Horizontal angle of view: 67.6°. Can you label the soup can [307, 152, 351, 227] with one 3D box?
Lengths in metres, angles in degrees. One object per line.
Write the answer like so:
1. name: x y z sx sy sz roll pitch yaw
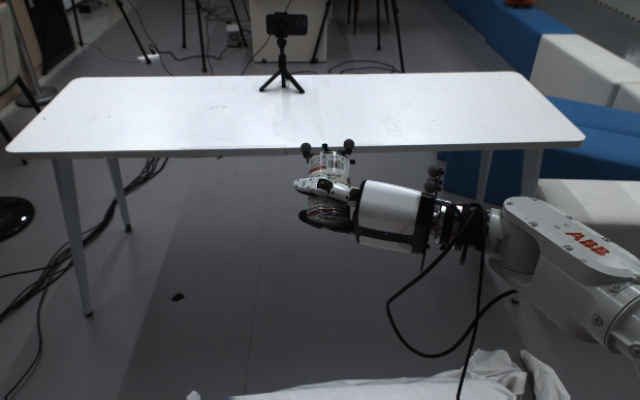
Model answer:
1. soup can: 0.014 -0.016 0.748 0.067 0.067 0.101 2 68 -1
